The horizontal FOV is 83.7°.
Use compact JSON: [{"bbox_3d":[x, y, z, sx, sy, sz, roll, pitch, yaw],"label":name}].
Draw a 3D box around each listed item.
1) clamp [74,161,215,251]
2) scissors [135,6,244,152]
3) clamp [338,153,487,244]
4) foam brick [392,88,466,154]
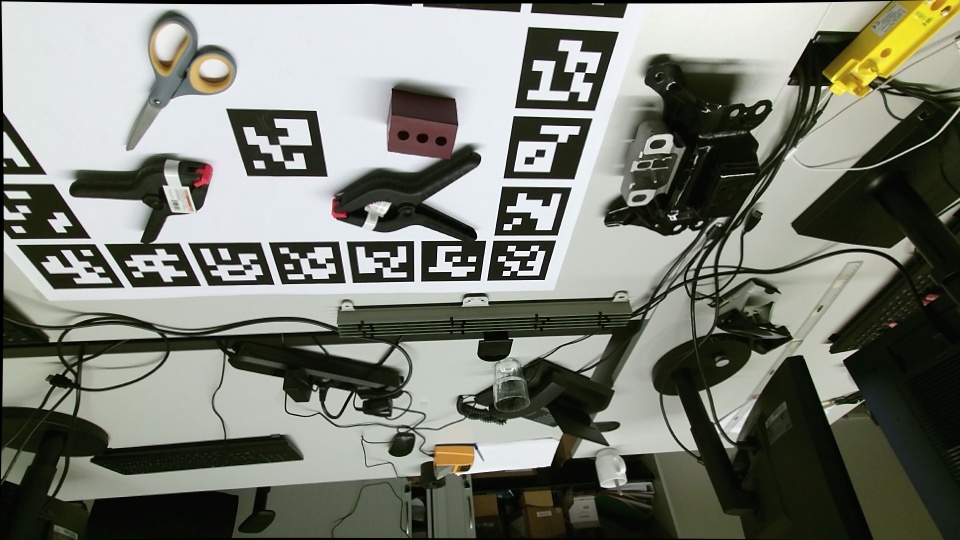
[{"bbox_3d":[-0.417,-0.094,0.696,0.165,0.036,0.122,-20,130,13],"label":"clamp"},{"bbox_3d":[-0.342,-0.194,0.598,0.088,0.016,0.203,35,125,-29],"label":"scissors"},{"bbox_3d":[-0.093,-0.091,0.744,0.203,0.036,0.165,-3,142,-4],"label":"clamp"},{"bbox_3d":[-0.063,-0.178,0.642,0.078,0.051,0.053,1,137,-17],"label":"foam brick"}]
